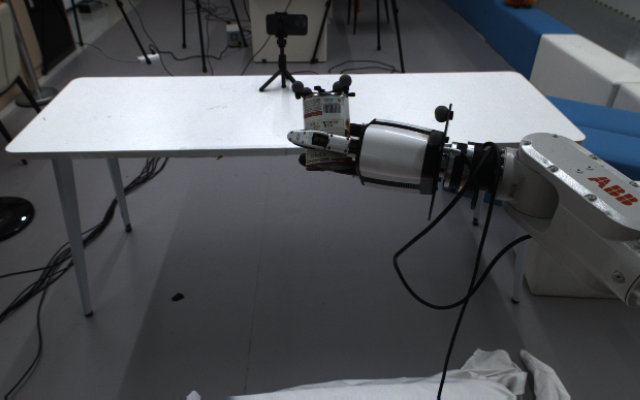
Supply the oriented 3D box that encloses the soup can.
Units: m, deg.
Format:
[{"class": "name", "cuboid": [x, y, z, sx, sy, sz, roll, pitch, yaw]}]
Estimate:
[{"class": "soup can", "cuboid": [0.011, -0.094, 0.684, 0.067, 0.101, 0.067, -3, -1, 0]}]
